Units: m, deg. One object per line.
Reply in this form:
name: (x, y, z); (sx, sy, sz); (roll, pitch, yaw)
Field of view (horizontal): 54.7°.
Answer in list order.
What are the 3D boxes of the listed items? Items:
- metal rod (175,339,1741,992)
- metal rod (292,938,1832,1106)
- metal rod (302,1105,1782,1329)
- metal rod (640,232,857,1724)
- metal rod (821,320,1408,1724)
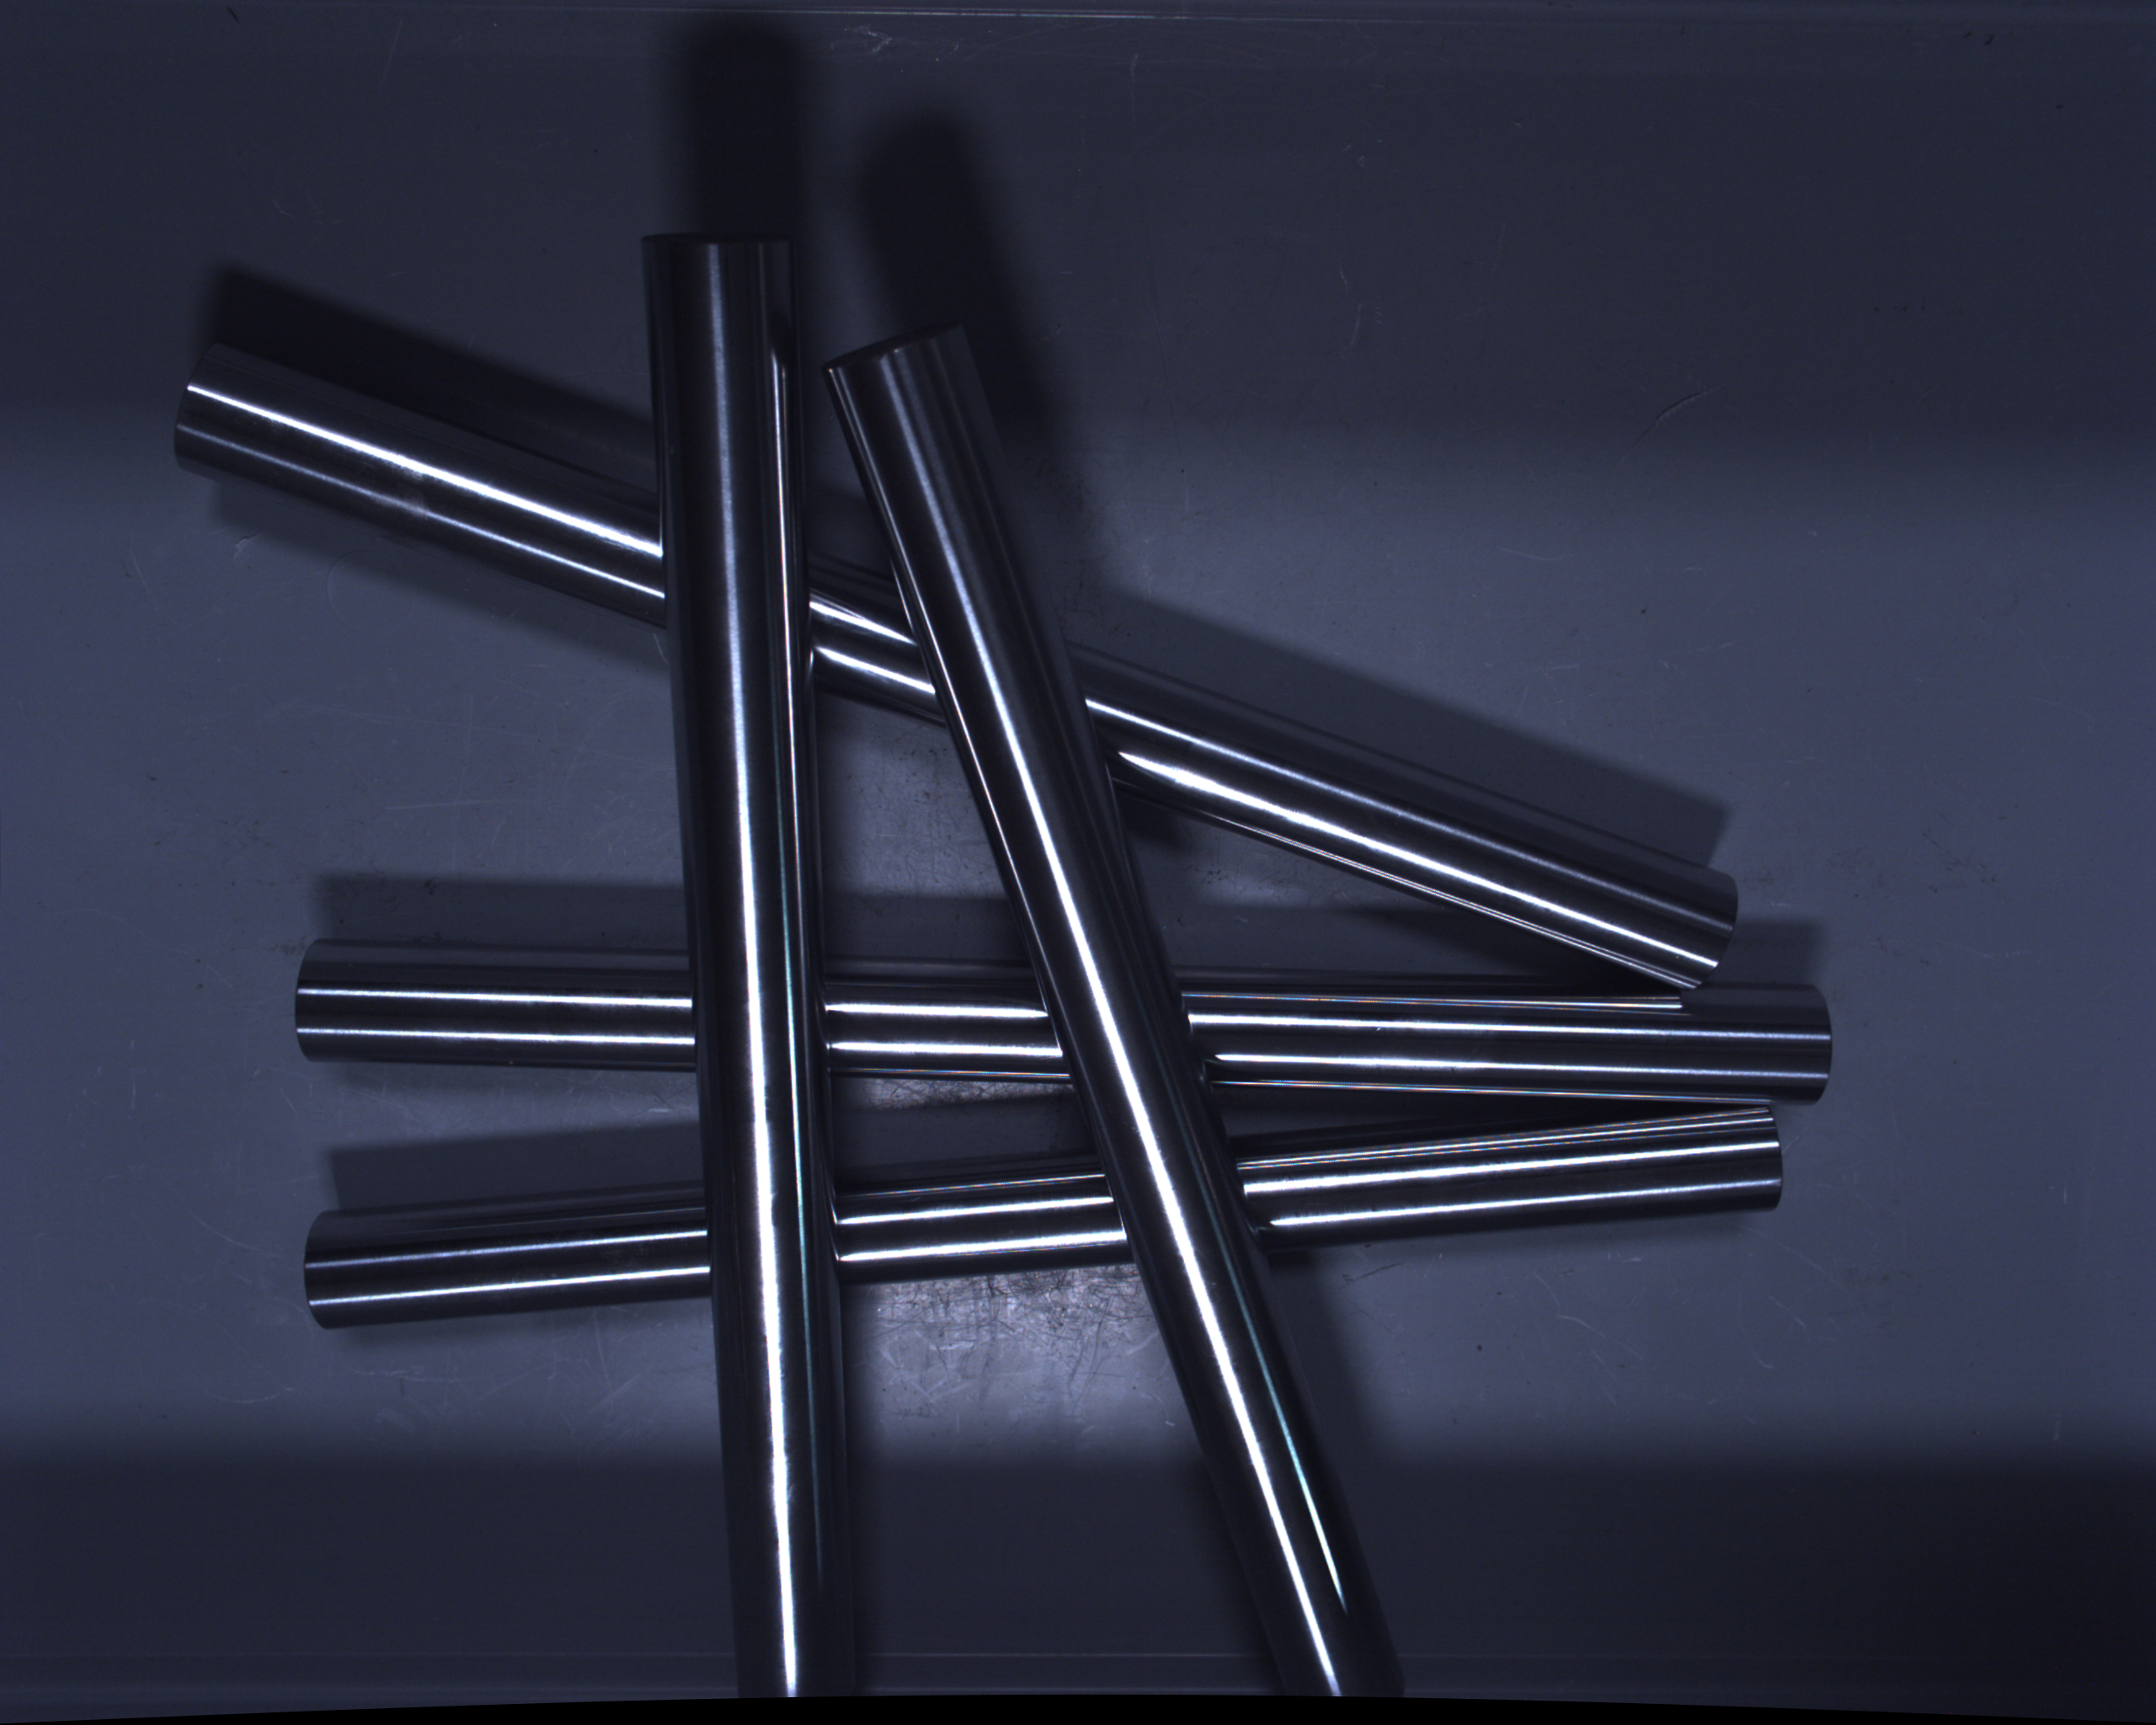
metal rod: (-0.016, -0.034, 0.396); (0.302, 0.025, 0.025); (19, 109, -8)
metal rod: (-0.002, 0.032, 0.421); (0.302, 0.025, 0.025); (2, 110, -1)
metal rod: (-0.008, 0.073, 0.437); (0.302, 0.025, 0.025); (-5, 110, 1)
metal rod: (-0.060, 0.037, 0.395); (0.025, 0.025, 0.298); (0, 110, -1)
metal rod: (0.014, 0.046, 0.400); (0.025, 0.025, 0.298); (-17, 110, 6)
